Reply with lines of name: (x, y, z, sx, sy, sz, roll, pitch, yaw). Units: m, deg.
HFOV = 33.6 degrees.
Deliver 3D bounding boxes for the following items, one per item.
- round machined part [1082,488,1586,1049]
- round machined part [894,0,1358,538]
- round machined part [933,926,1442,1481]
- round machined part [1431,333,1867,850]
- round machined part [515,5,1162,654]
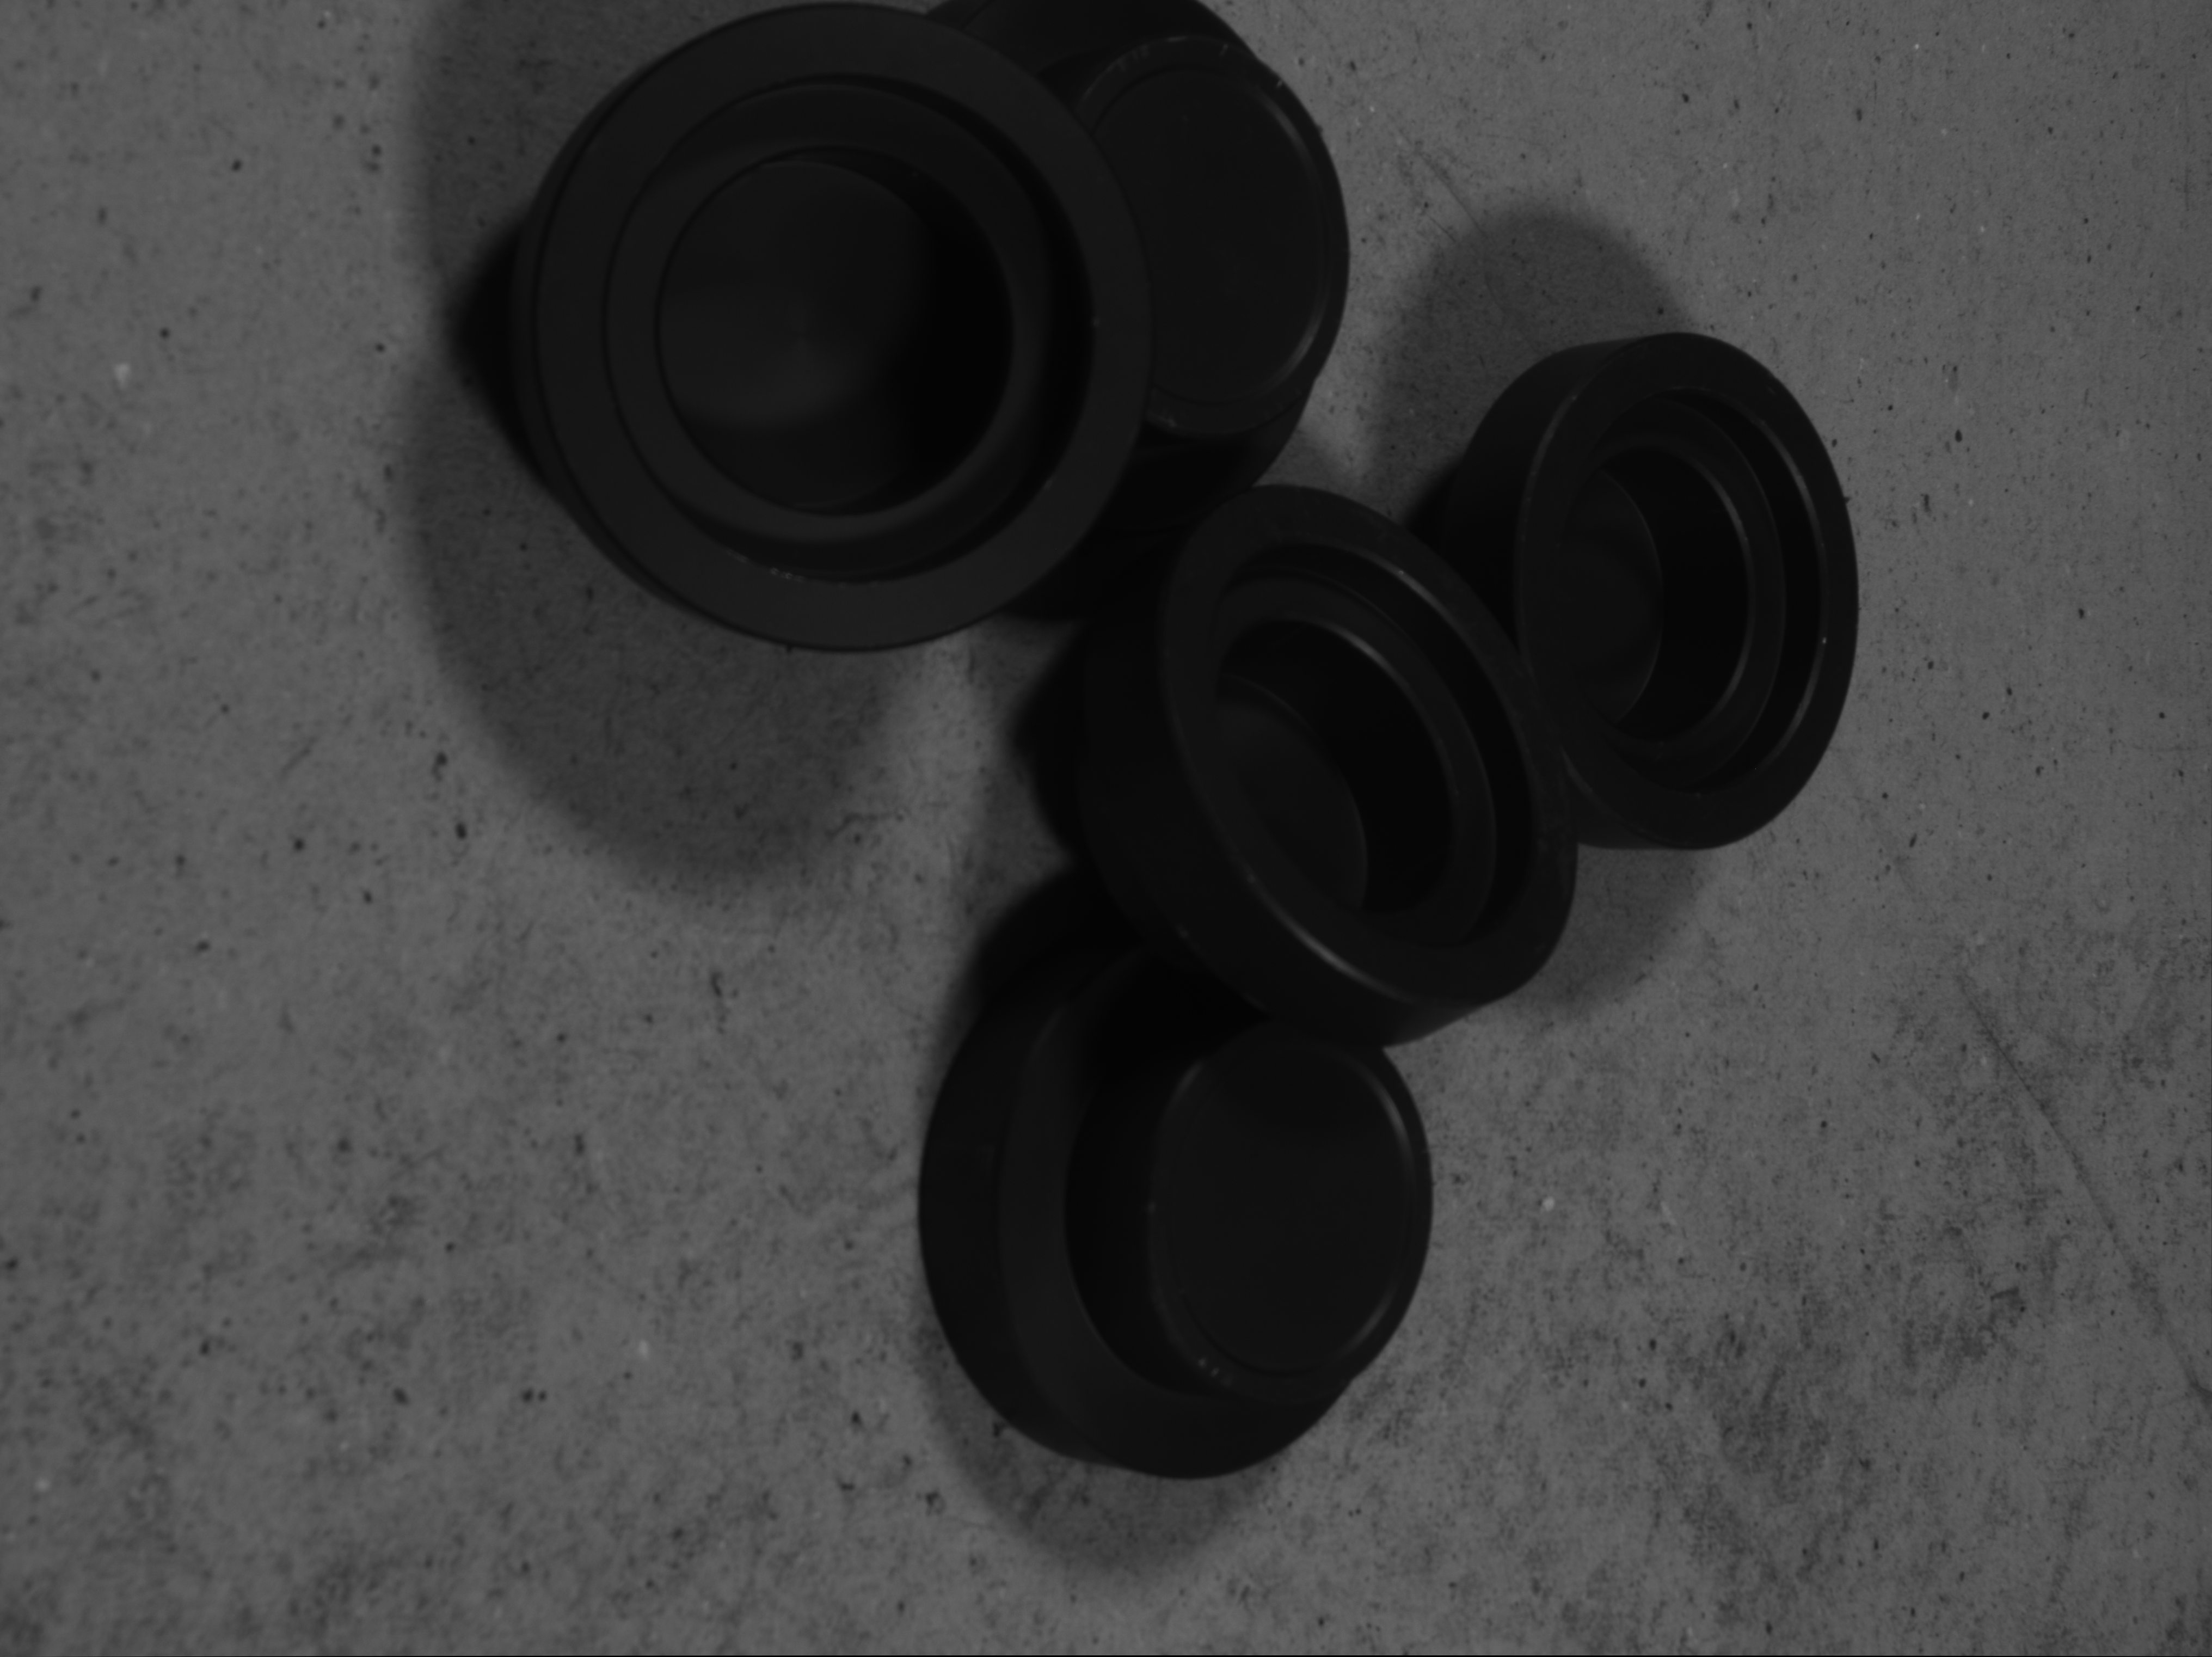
round machined part: (0.035, -0.007, 0.642, 0.098, 0.042, 0.098, 22, 54, -32)
round machined part: (0.005, -0.099, 0.630, 0.098, 0.042, 0.098, 0, 90, -40)
round machined part: (0.021, 0.065, 0.643, 0.098, 0.042, 0.098, 0, 90, -40)
round machined part: (0.100, -0.045, 0.710, 0.098, 0.042, 0.098, 0, 90, -40)
round machined part: (-0.044, -0.078, 0.576, 0.098, 0.042, 0.098, -2, 97, -18)
